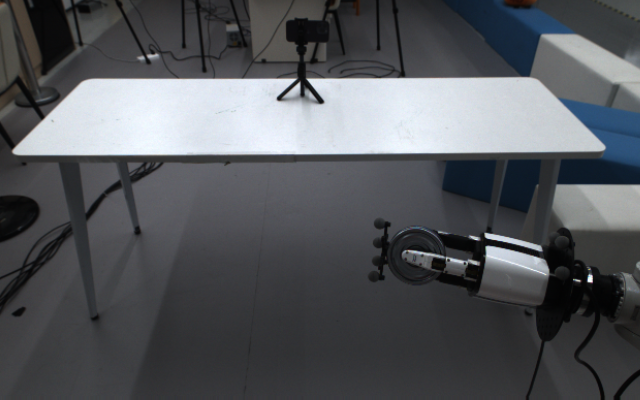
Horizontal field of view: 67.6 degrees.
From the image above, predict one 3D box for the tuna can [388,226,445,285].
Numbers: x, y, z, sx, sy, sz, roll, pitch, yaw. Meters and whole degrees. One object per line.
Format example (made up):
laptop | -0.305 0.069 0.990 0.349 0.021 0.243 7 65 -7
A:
tuna can | 0.144 0.079 0.712 0.085 0.085 0.034 10 2 11
